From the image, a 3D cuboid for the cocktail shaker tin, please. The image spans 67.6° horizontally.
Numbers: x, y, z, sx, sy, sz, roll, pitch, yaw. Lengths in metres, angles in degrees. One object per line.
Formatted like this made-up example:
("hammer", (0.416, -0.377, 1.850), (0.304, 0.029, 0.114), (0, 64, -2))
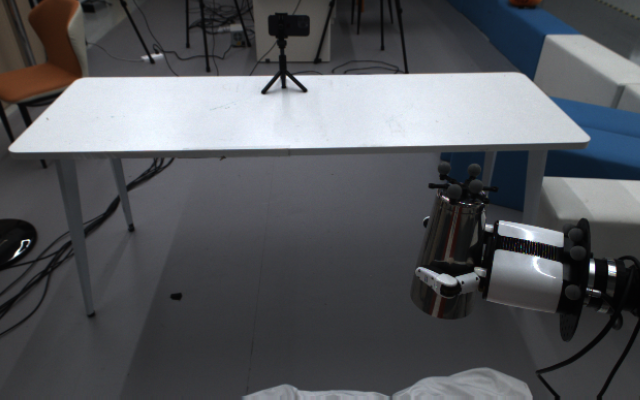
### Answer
("cocktail shaker tin", (0.182, 0.065, 0.662), (0.093, 0.170, 0.093), (2, 28, -1))
